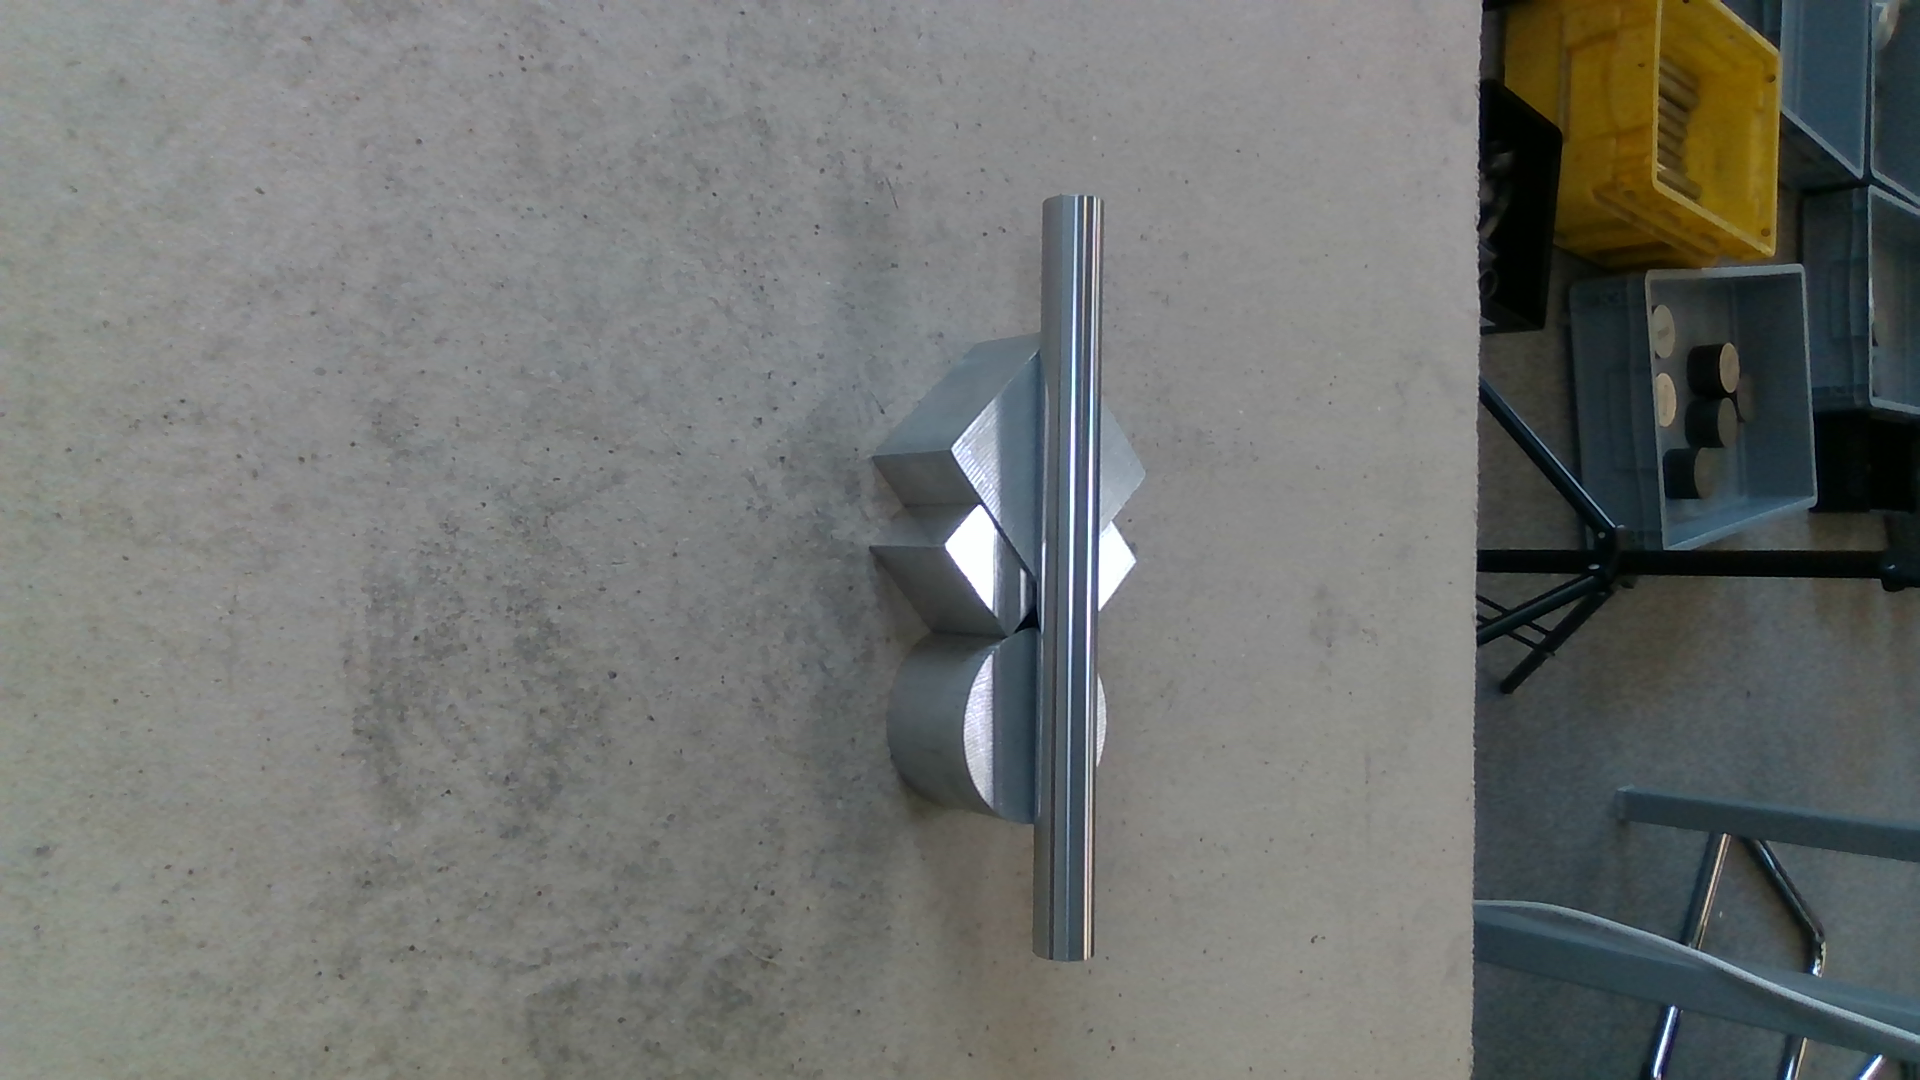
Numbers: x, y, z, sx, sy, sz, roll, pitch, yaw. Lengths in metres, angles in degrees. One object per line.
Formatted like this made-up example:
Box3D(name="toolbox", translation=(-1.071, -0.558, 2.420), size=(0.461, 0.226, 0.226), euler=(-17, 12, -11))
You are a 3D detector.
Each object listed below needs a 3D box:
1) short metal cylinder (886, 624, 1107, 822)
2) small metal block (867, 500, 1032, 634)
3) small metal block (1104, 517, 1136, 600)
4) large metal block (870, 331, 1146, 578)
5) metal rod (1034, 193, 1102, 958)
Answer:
Box3D(name="short metal cylinder", translation=(0.016, 0.075, 0.580), size=(0.080, 0.050, 0.080), euler=(0, 90, -40))
Box3D(name="small metal block", translation=(-0.002, 0.011, 0.567), size=(0.025, 0.050, 0.050), euler=(-50, 120, -28))
Box3D(name="small metal block", translation=(0.040, 0.016, 0.602), size=(0.050, 0.050, 0.025), euler=(-50, 120, -28))
Box3D(name="large metal block", translation=(0.022, -0.033, 0.584), size=(0.080, 0.050, 0.080), euler=(-50, 120, -29))
Box3D(name="metal rod", translation=(0.043, 0.014, 0.552), size=(0.025, 0.025, 0.300), euler=(1, 89, -40))
